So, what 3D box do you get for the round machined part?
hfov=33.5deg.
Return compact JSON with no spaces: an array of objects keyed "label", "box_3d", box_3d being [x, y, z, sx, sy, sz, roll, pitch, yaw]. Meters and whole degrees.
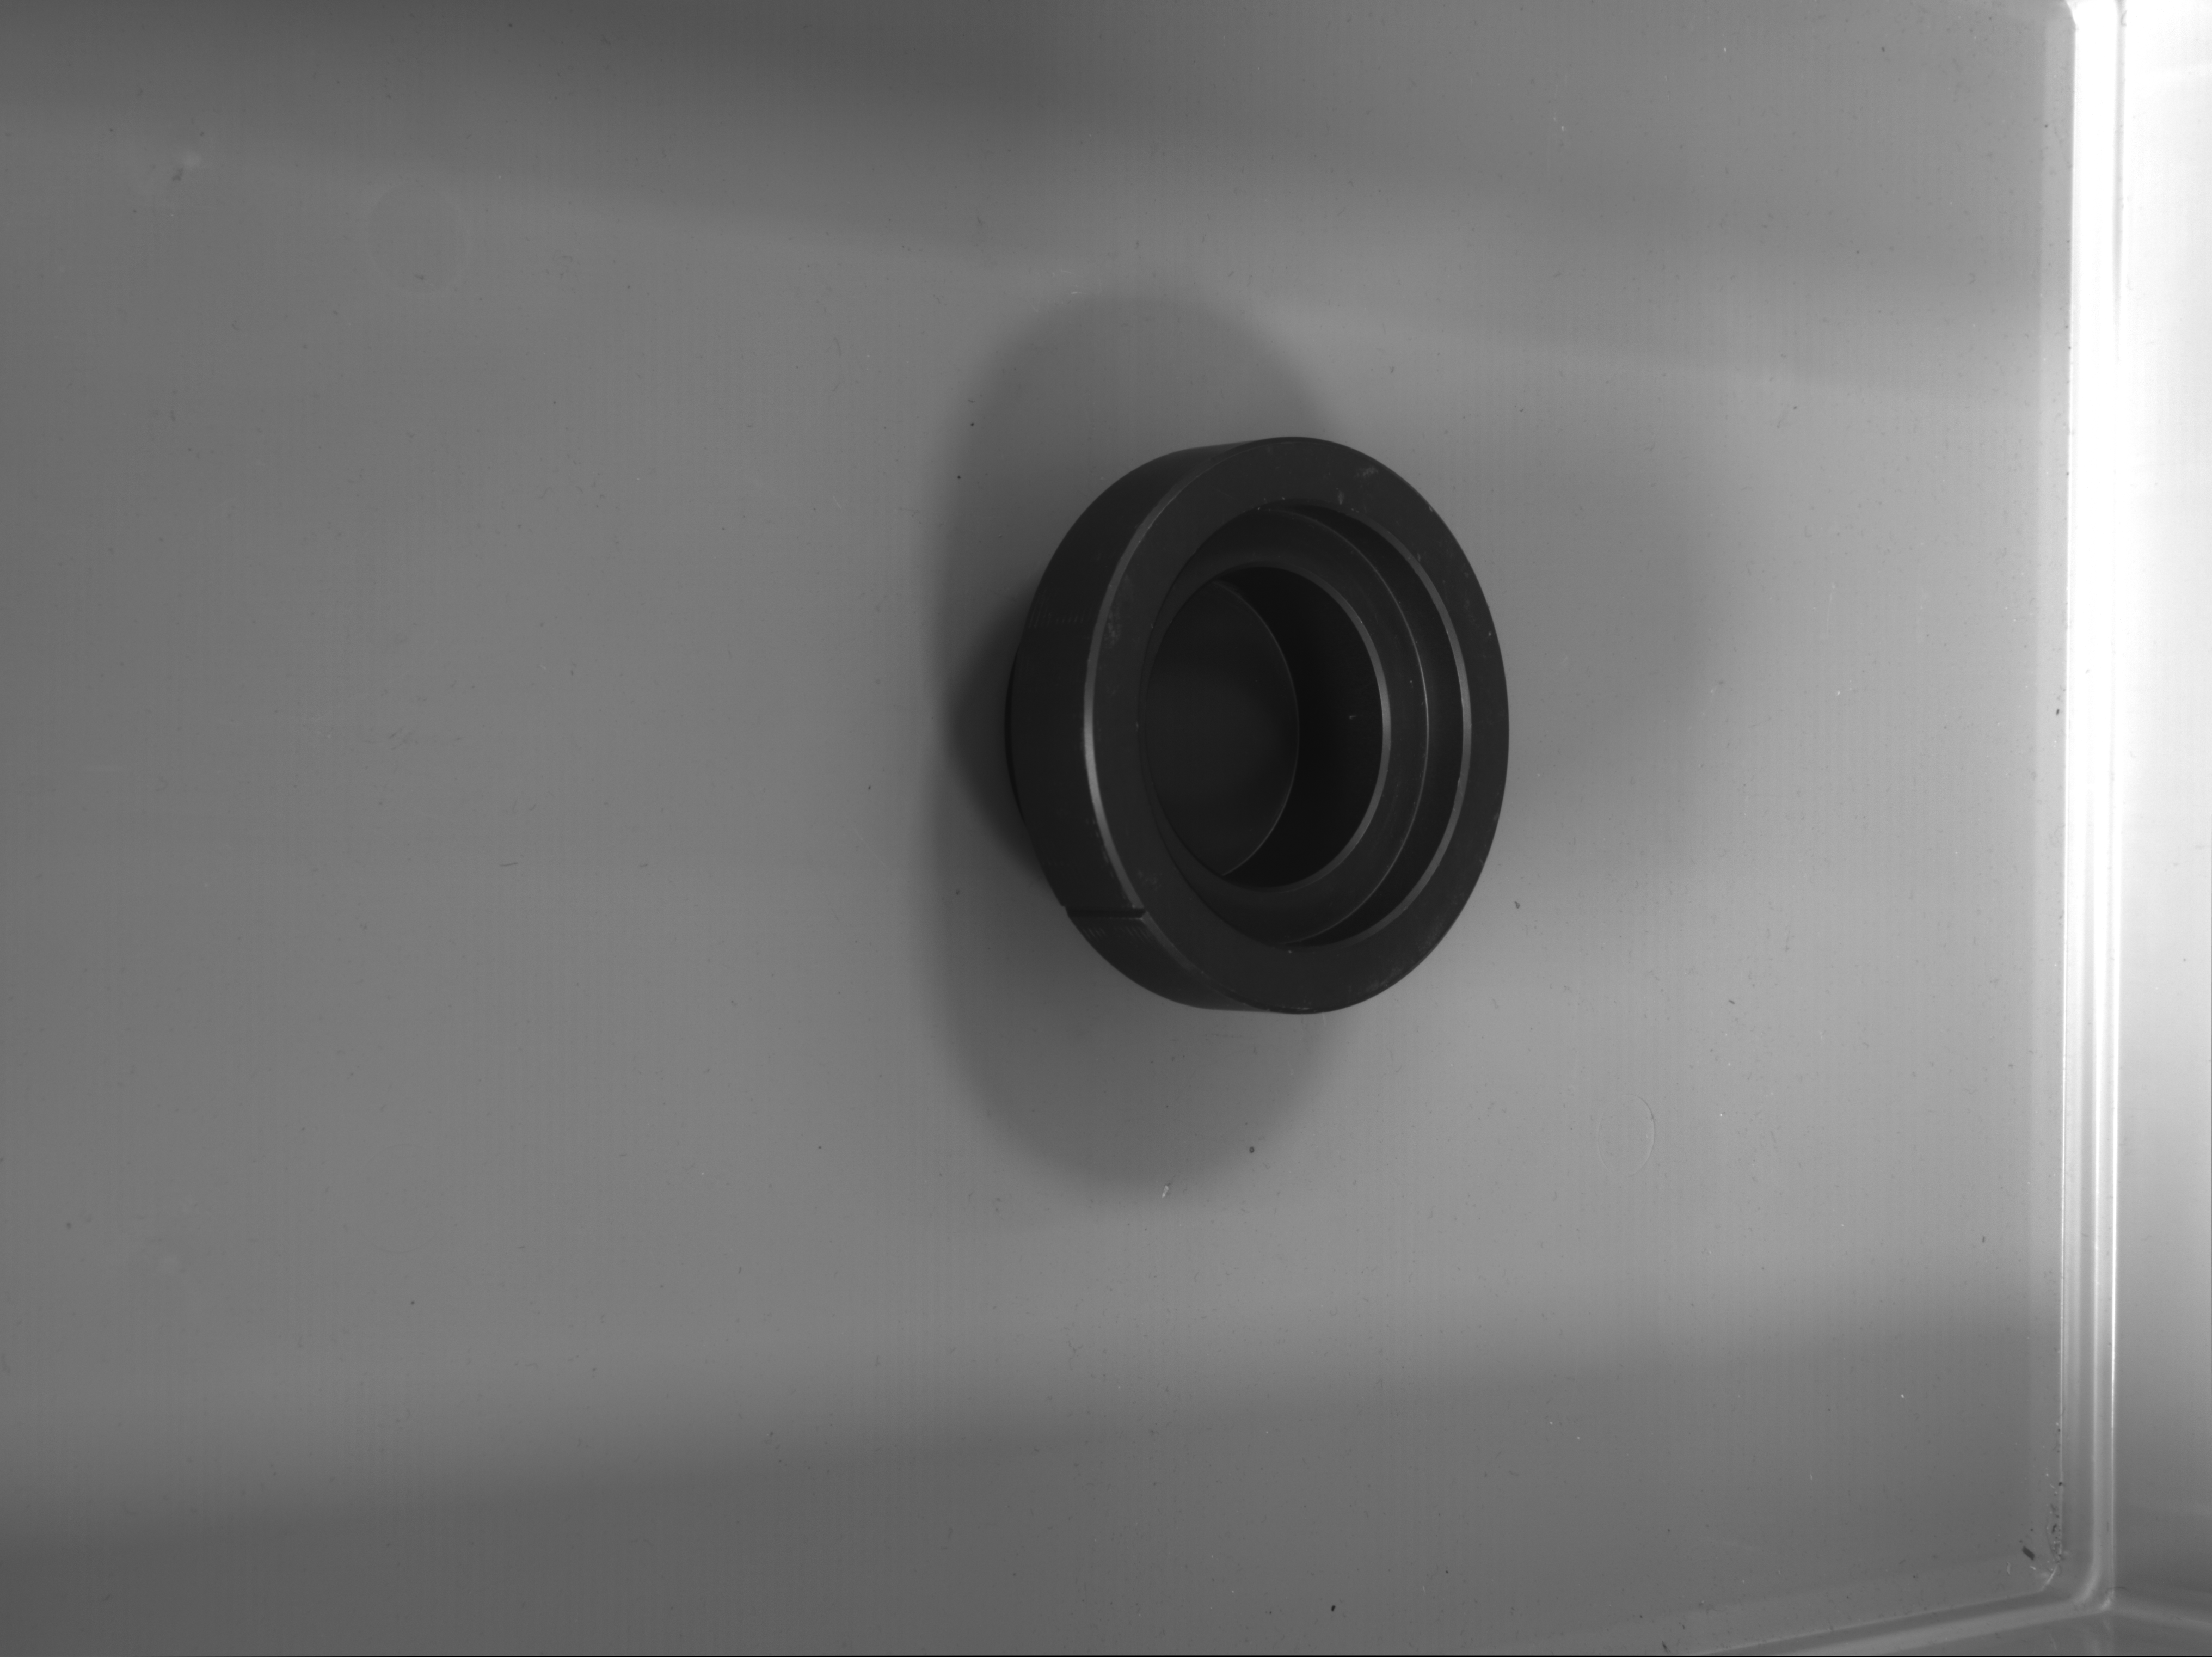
[{"label":"round machined part","box_3d":[0.022,-0.017,0.640,0.098,0.042,0.098,0,90,-40]}]
